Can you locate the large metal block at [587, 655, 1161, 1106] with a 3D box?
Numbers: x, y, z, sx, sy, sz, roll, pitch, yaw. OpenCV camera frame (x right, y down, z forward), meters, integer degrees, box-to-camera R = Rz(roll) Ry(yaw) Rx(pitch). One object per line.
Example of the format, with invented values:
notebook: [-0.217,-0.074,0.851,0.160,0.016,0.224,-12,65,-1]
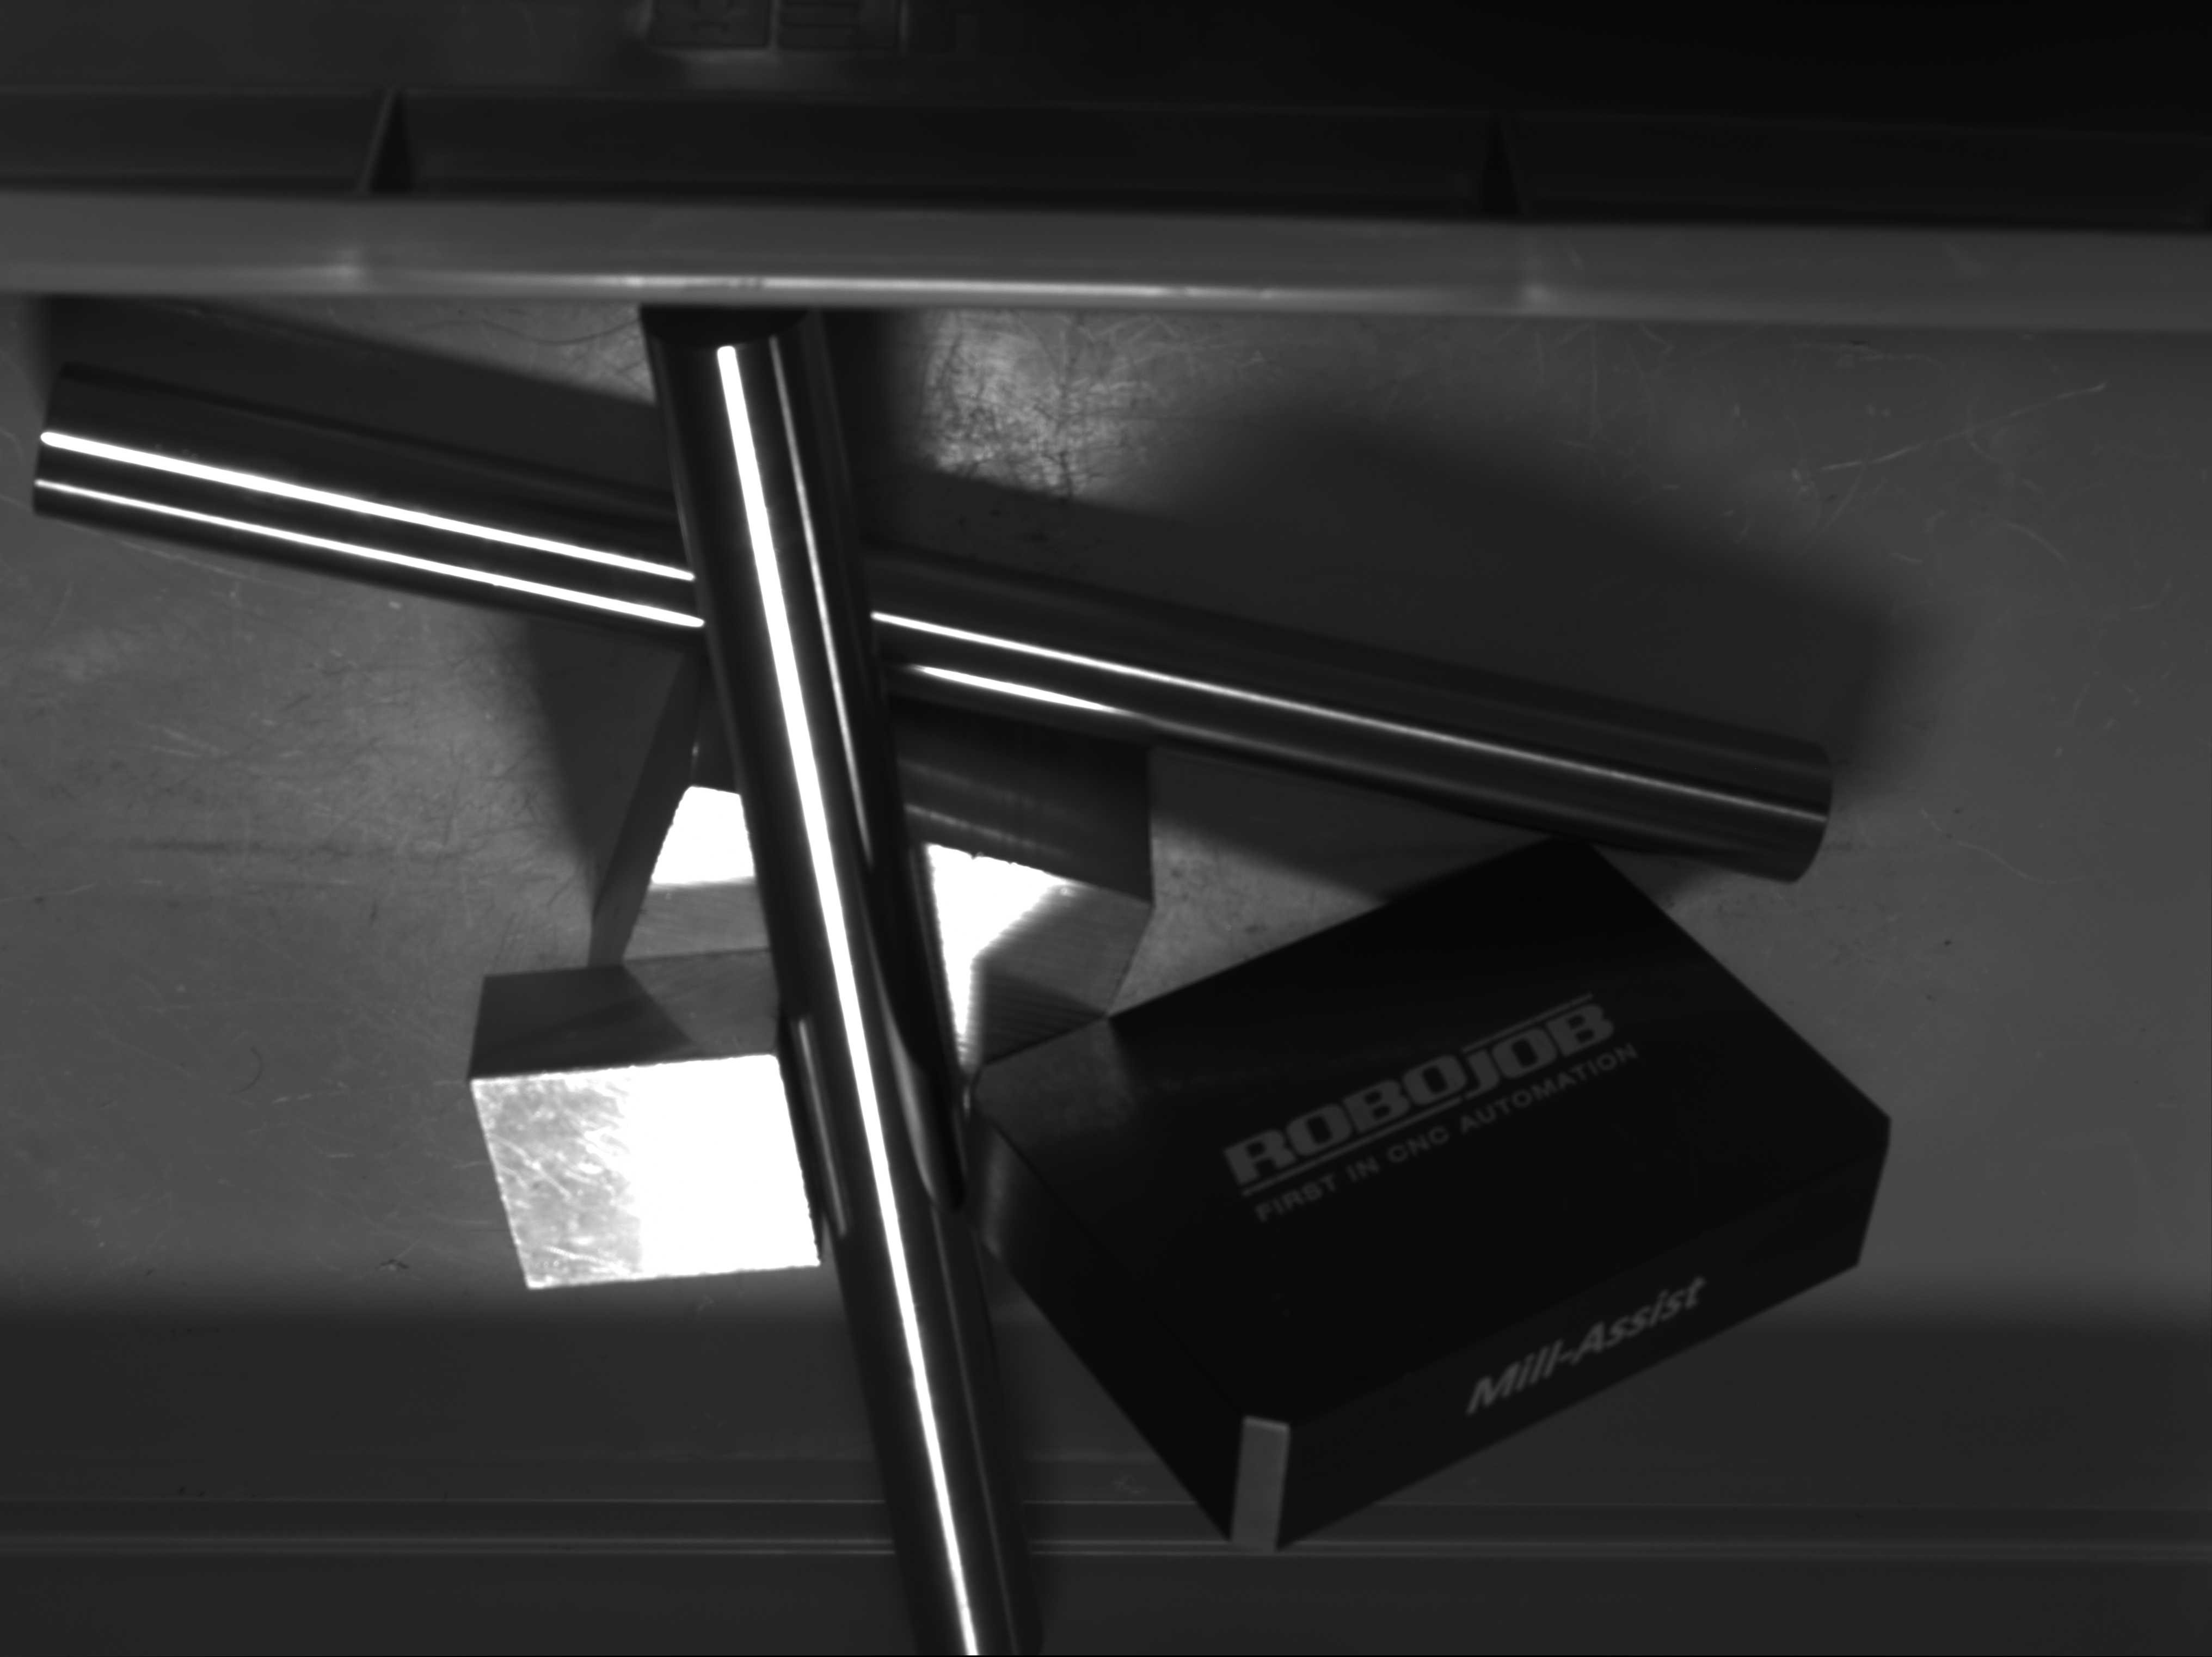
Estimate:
large metal block: [-0.042,0.016,0.633,0.080,0.050,0.080,14,128,-13]

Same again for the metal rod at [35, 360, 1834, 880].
metal rod: [-0.023,-0.033,0.610,0.300,0.025,0.025,12,129,-11]

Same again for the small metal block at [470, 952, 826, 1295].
small metal block: [-0.075,0.049,0.611,0.050,0.025,0.050,-5,129,2]

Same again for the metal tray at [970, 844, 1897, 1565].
metal tray: [0.054,0.058,0.611,0.130,0.090,0.030,-21,136,-26]

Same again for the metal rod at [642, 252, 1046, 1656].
metal rod: [-0.038,0.041,0.605,0.025,0.025,0.300,-5,130,2]
